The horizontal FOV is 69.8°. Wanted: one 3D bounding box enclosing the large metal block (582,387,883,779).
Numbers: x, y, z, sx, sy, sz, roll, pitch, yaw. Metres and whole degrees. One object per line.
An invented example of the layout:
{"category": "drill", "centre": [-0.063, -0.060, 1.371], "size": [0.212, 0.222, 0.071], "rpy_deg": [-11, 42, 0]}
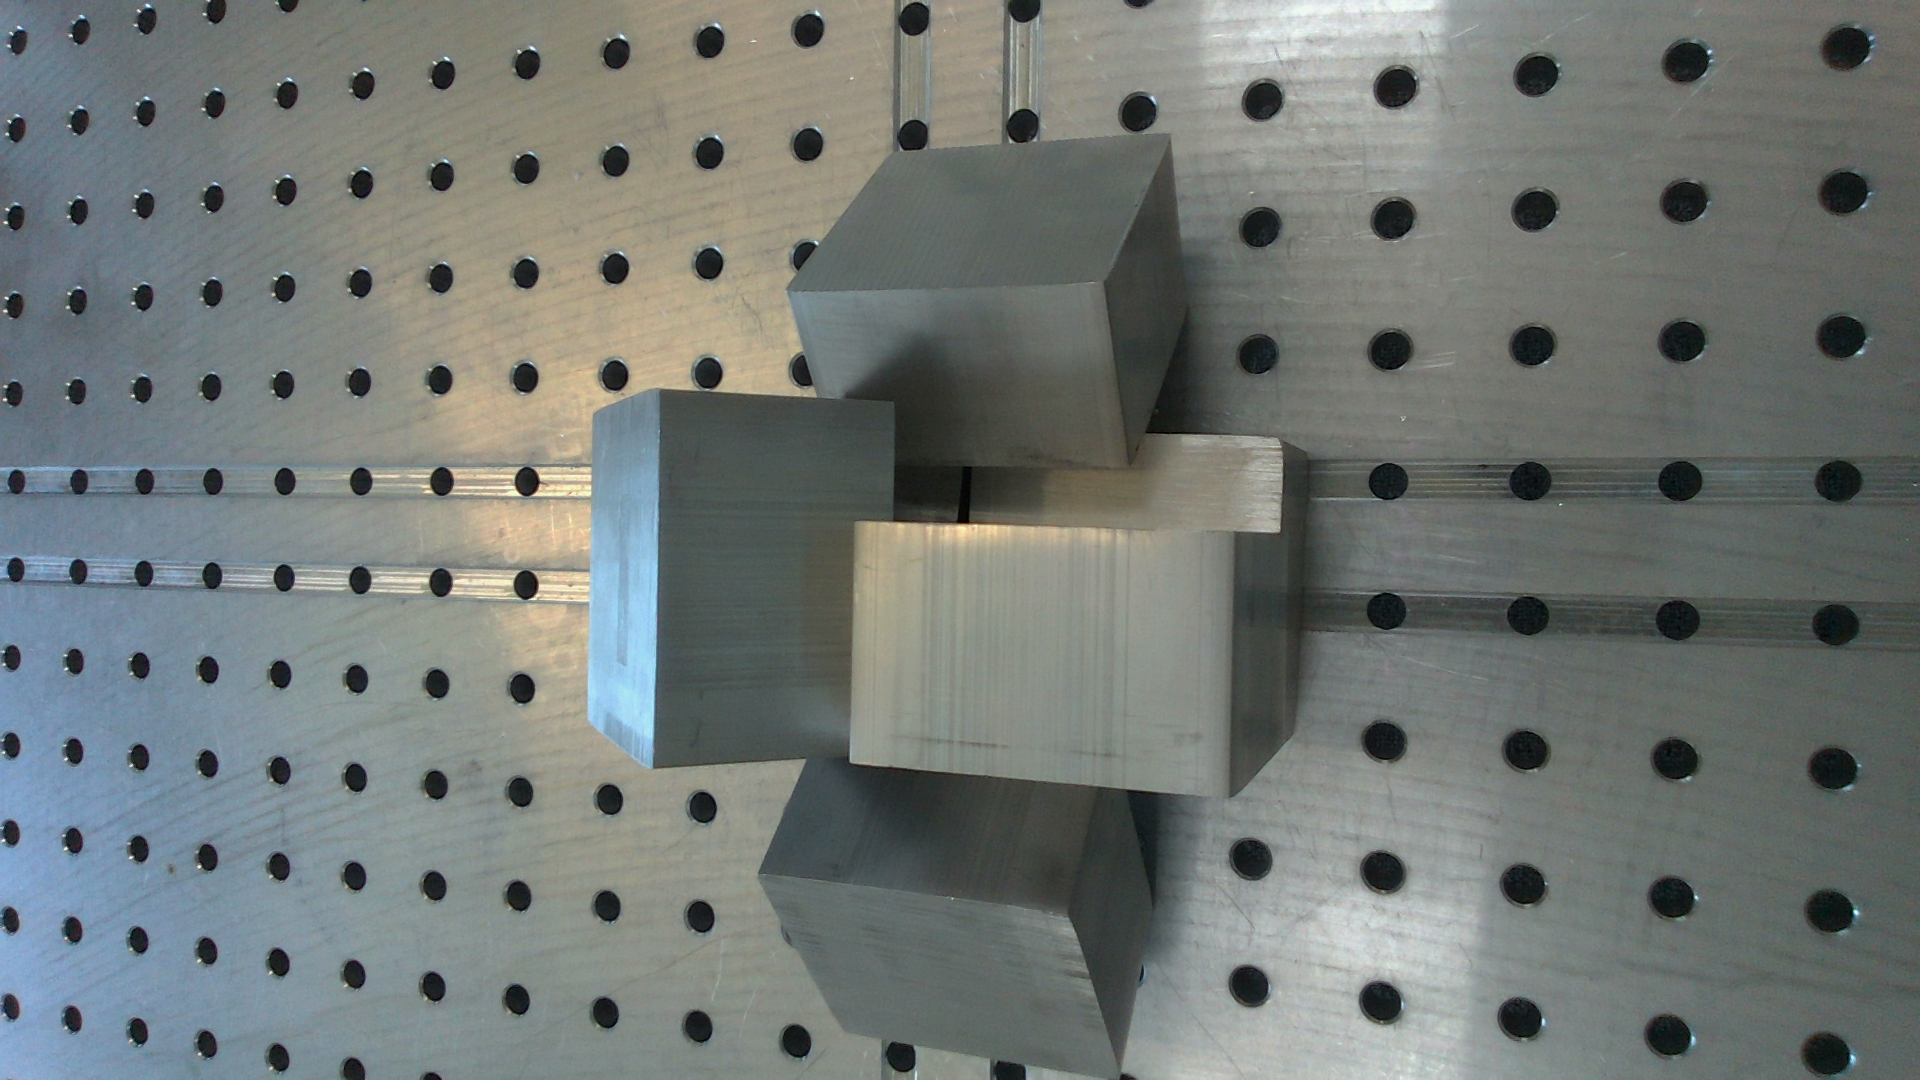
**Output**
{"category": "large metal block", "centre": [-0.057, 0.008, 0.328], "size": [0.050, 0.080, 0.080], "rpy_deg": [1, 91, -25]}

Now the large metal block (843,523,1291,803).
{"category": "large metal block", "centre": [0.028, 0.023, 0.306], "size": [0.080, 0.080, 0.050], "rpy_deg": [2, 90, 20]}

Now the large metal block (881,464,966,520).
{"category": "large metal block", "centre": [-0.032, 0.009, 0.397], "size": [0.080, 0.050, 0.080], "rpy_deg": [7, 93, 20]}

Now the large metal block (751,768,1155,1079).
{"category": "large metal block", "centre": [0.003, 0.094, 0.362], "size": [0.080, 0.050, 0.080], "rpy_deg": [2, 135, 20]}

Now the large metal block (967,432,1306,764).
{"category": "large metal block", "centre": [0.047, 0.013, 0.368], "size": [0.080, 0.050, 0.080], "rpy_deg": [3, 91, 20]}

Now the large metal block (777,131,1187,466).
{"category": "large metal block", "centre": [0.010, -0.064, 0.358], "size": [0.080, 0.080, 0.050], "rpy_deg": [2, 129, 20]}
